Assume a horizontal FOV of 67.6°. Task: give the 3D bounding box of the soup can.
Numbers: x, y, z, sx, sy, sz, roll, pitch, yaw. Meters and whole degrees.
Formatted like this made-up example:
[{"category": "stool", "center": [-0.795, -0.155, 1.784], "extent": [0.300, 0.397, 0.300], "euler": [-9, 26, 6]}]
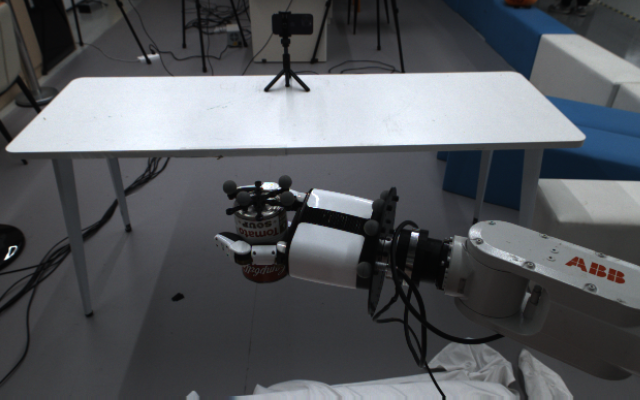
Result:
[{"category": "soup can", "center": [-0.071, 0.047, 0.620], "extent": [0.067, 0.101, 0.067], "euler": [-2, 32, 1]}]
